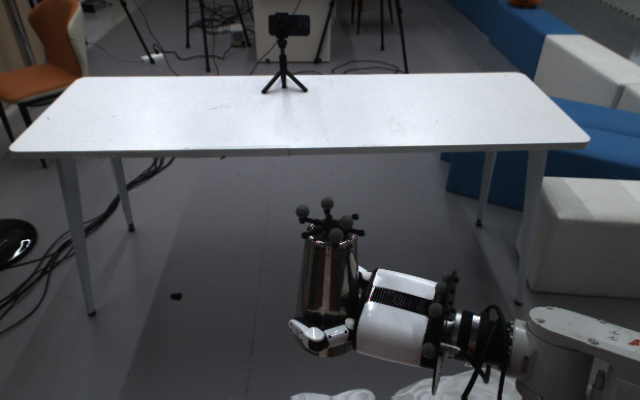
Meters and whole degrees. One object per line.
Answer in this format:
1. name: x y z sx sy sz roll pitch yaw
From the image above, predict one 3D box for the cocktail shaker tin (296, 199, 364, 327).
1. cocktail shaker tin: 0.013 0.115 0.649 0.093 0.170 0.093 1 27 -1
